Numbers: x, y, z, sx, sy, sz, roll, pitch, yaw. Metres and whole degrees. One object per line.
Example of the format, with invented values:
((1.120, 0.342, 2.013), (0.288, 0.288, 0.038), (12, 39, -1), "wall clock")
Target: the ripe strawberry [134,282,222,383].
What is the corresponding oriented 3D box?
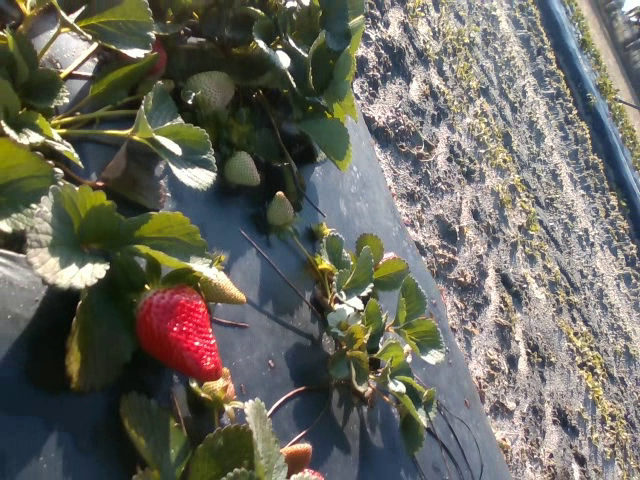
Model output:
((-0.078, 0.057, 0.349), (0.056, 0.072, 0.055), (-36, -16, -16), "ripe strawberry")
